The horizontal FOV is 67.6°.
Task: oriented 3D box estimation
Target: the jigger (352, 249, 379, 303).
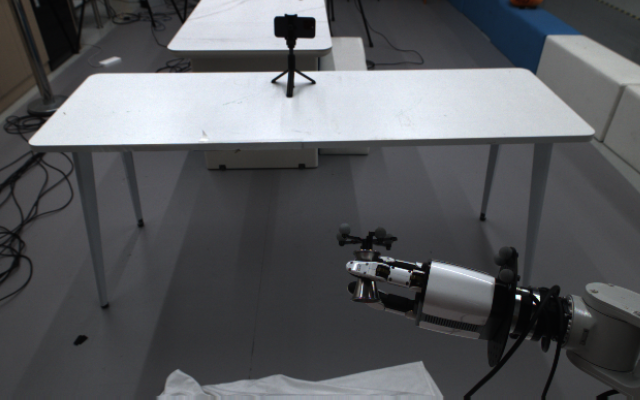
[{"bbox_3d":[0.064,0.106,0.678,0.043,0.043,0.071,3,72,1],"label":"jigger"}]
